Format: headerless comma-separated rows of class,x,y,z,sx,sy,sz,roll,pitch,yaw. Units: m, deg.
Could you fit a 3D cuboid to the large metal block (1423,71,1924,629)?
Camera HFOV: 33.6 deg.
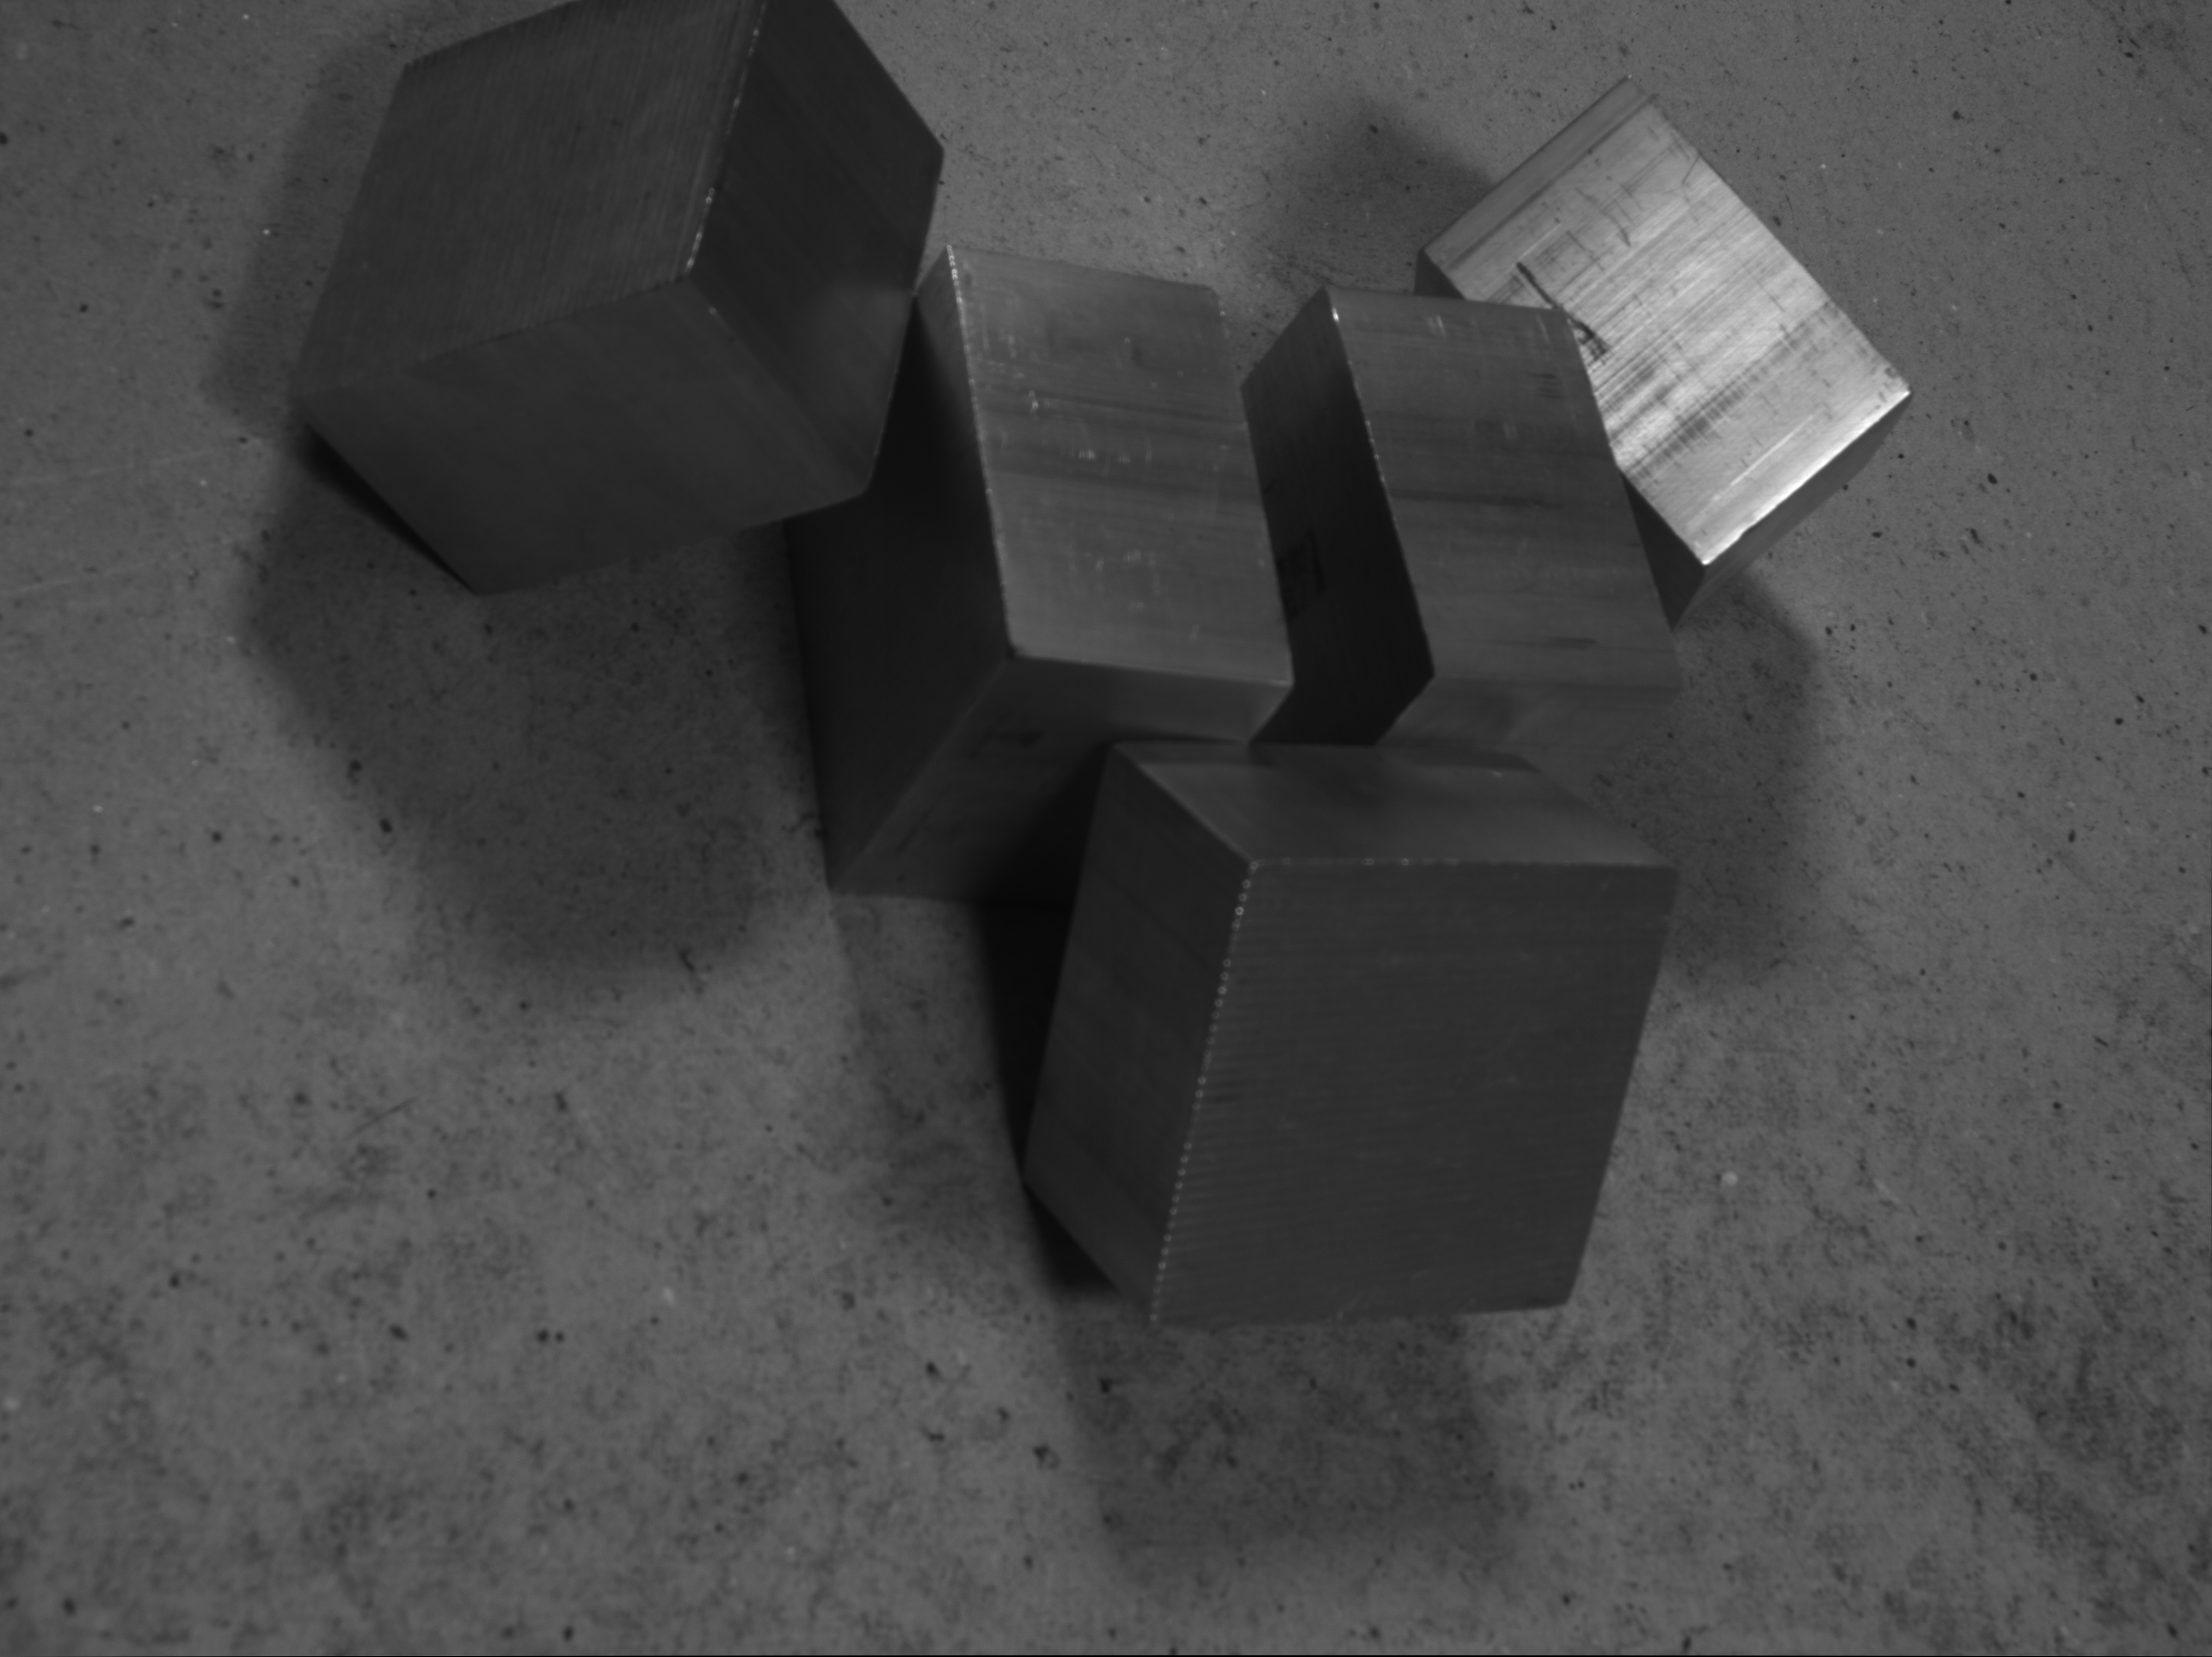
large metal block,0.106,-0.089,0.708,0.050,0.080,0.080,-41,83,-1

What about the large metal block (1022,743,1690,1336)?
large metal block,0.039,0.033,0.598,0.080,0.080,0.050,1,22,-27

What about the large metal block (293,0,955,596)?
large metal block,-0.078,-0.093,0.608,0.050,0.080,0.080,49,39,-42

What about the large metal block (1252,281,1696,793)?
large metal block,0.053,-0.040,0.658,0.050,0.080,0.080,1,61,-28

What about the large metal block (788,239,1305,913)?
large metal block,-0.013,-0.040,0.623,0.050,0.080,0.080,5,59,-26
